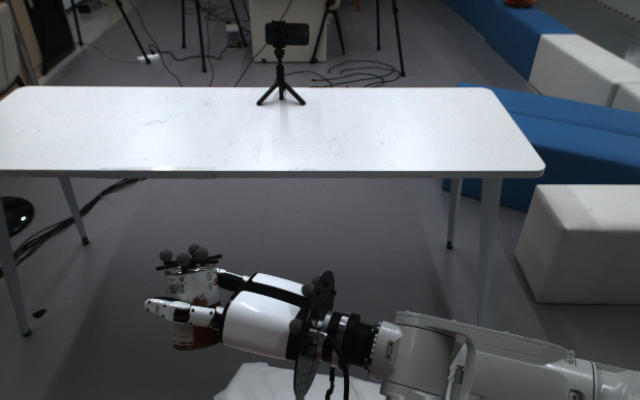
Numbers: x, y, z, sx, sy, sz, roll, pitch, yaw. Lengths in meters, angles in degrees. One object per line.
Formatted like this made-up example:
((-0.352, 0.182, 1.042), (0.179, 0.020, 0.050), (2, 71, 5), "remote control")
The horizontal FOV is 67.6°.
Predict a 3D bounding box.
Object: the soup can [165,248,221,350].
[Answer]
((-0.163, 0.139, 0.638), (0.067, 0.101, 0.067), (-7, 2, 0), "soup can")
